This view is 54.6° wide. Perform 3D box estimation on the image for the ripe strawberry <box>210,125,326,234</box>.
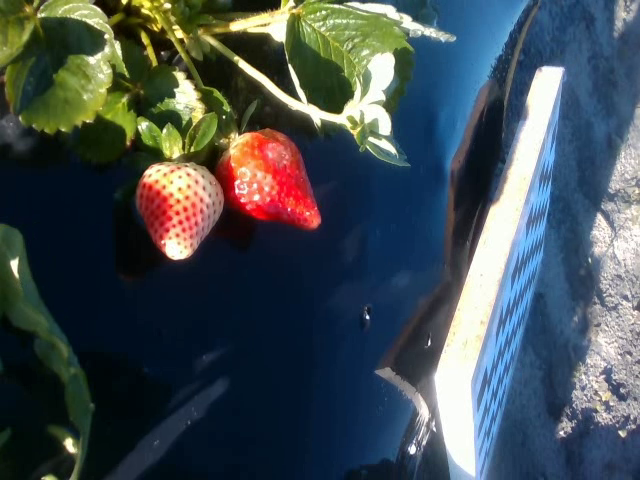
[{"bbox_3d":[-0.013,-0.021,0.240,0.055,0.040,0.038,42,-3,26],"label":"ripe strawberry"}]
